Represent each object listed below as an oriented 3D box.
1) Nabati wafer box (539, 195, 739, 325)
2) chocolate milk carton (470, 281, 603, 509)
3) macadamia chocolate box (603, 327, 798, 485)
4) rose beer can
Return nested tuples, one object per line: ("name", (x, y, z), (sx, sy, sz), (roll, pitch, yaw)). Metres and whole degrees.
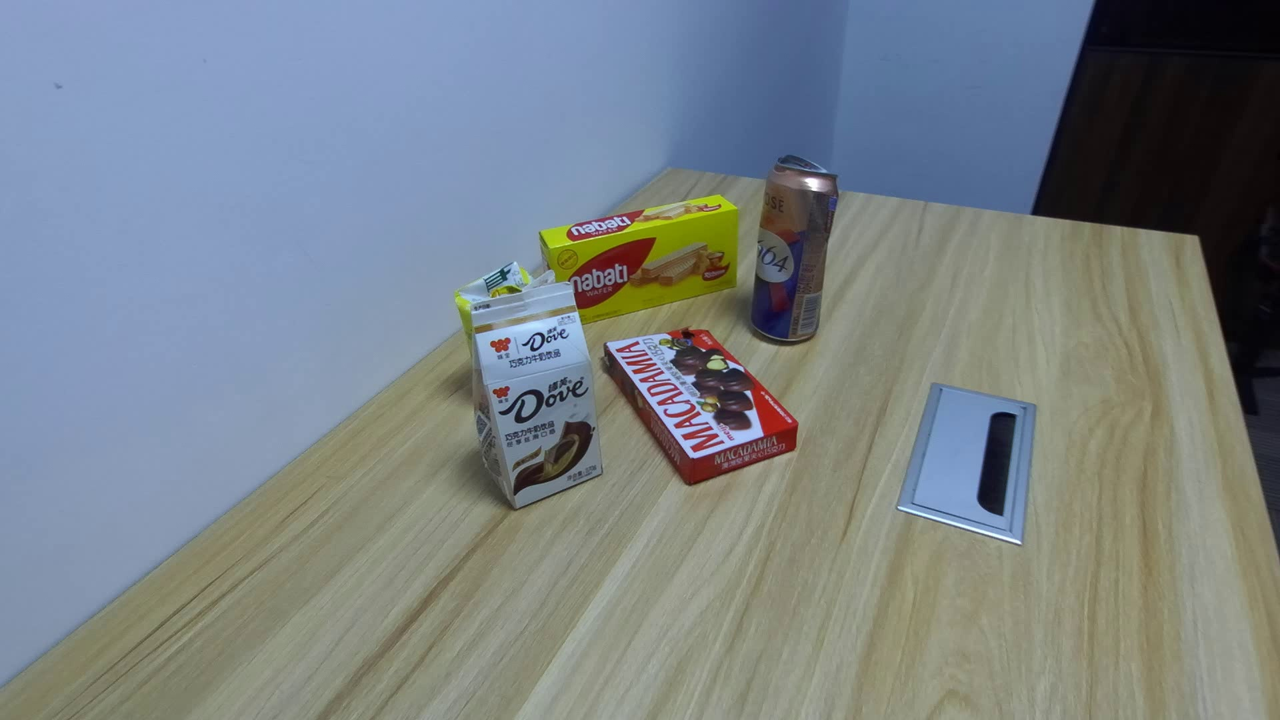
("Nabati wafer box", (0.005, -0.101, 0.725), (0.203, 0.093, 0.042), (-15, 35, -16))
("chocolate milk carton", (-0.081, 0.019, 0.508), (0.084, 0.155, 0.072), (-19, 37, -20))
("macadamia chocolate box", (0.046, 0.025, 0.599), (0.103, 0.027, 0.186), (-15, 36, -19))
("rose beer can", (0.140, -0.098, 0.645), (0.069, 0.168, 0.070), (14, 32, 20))
